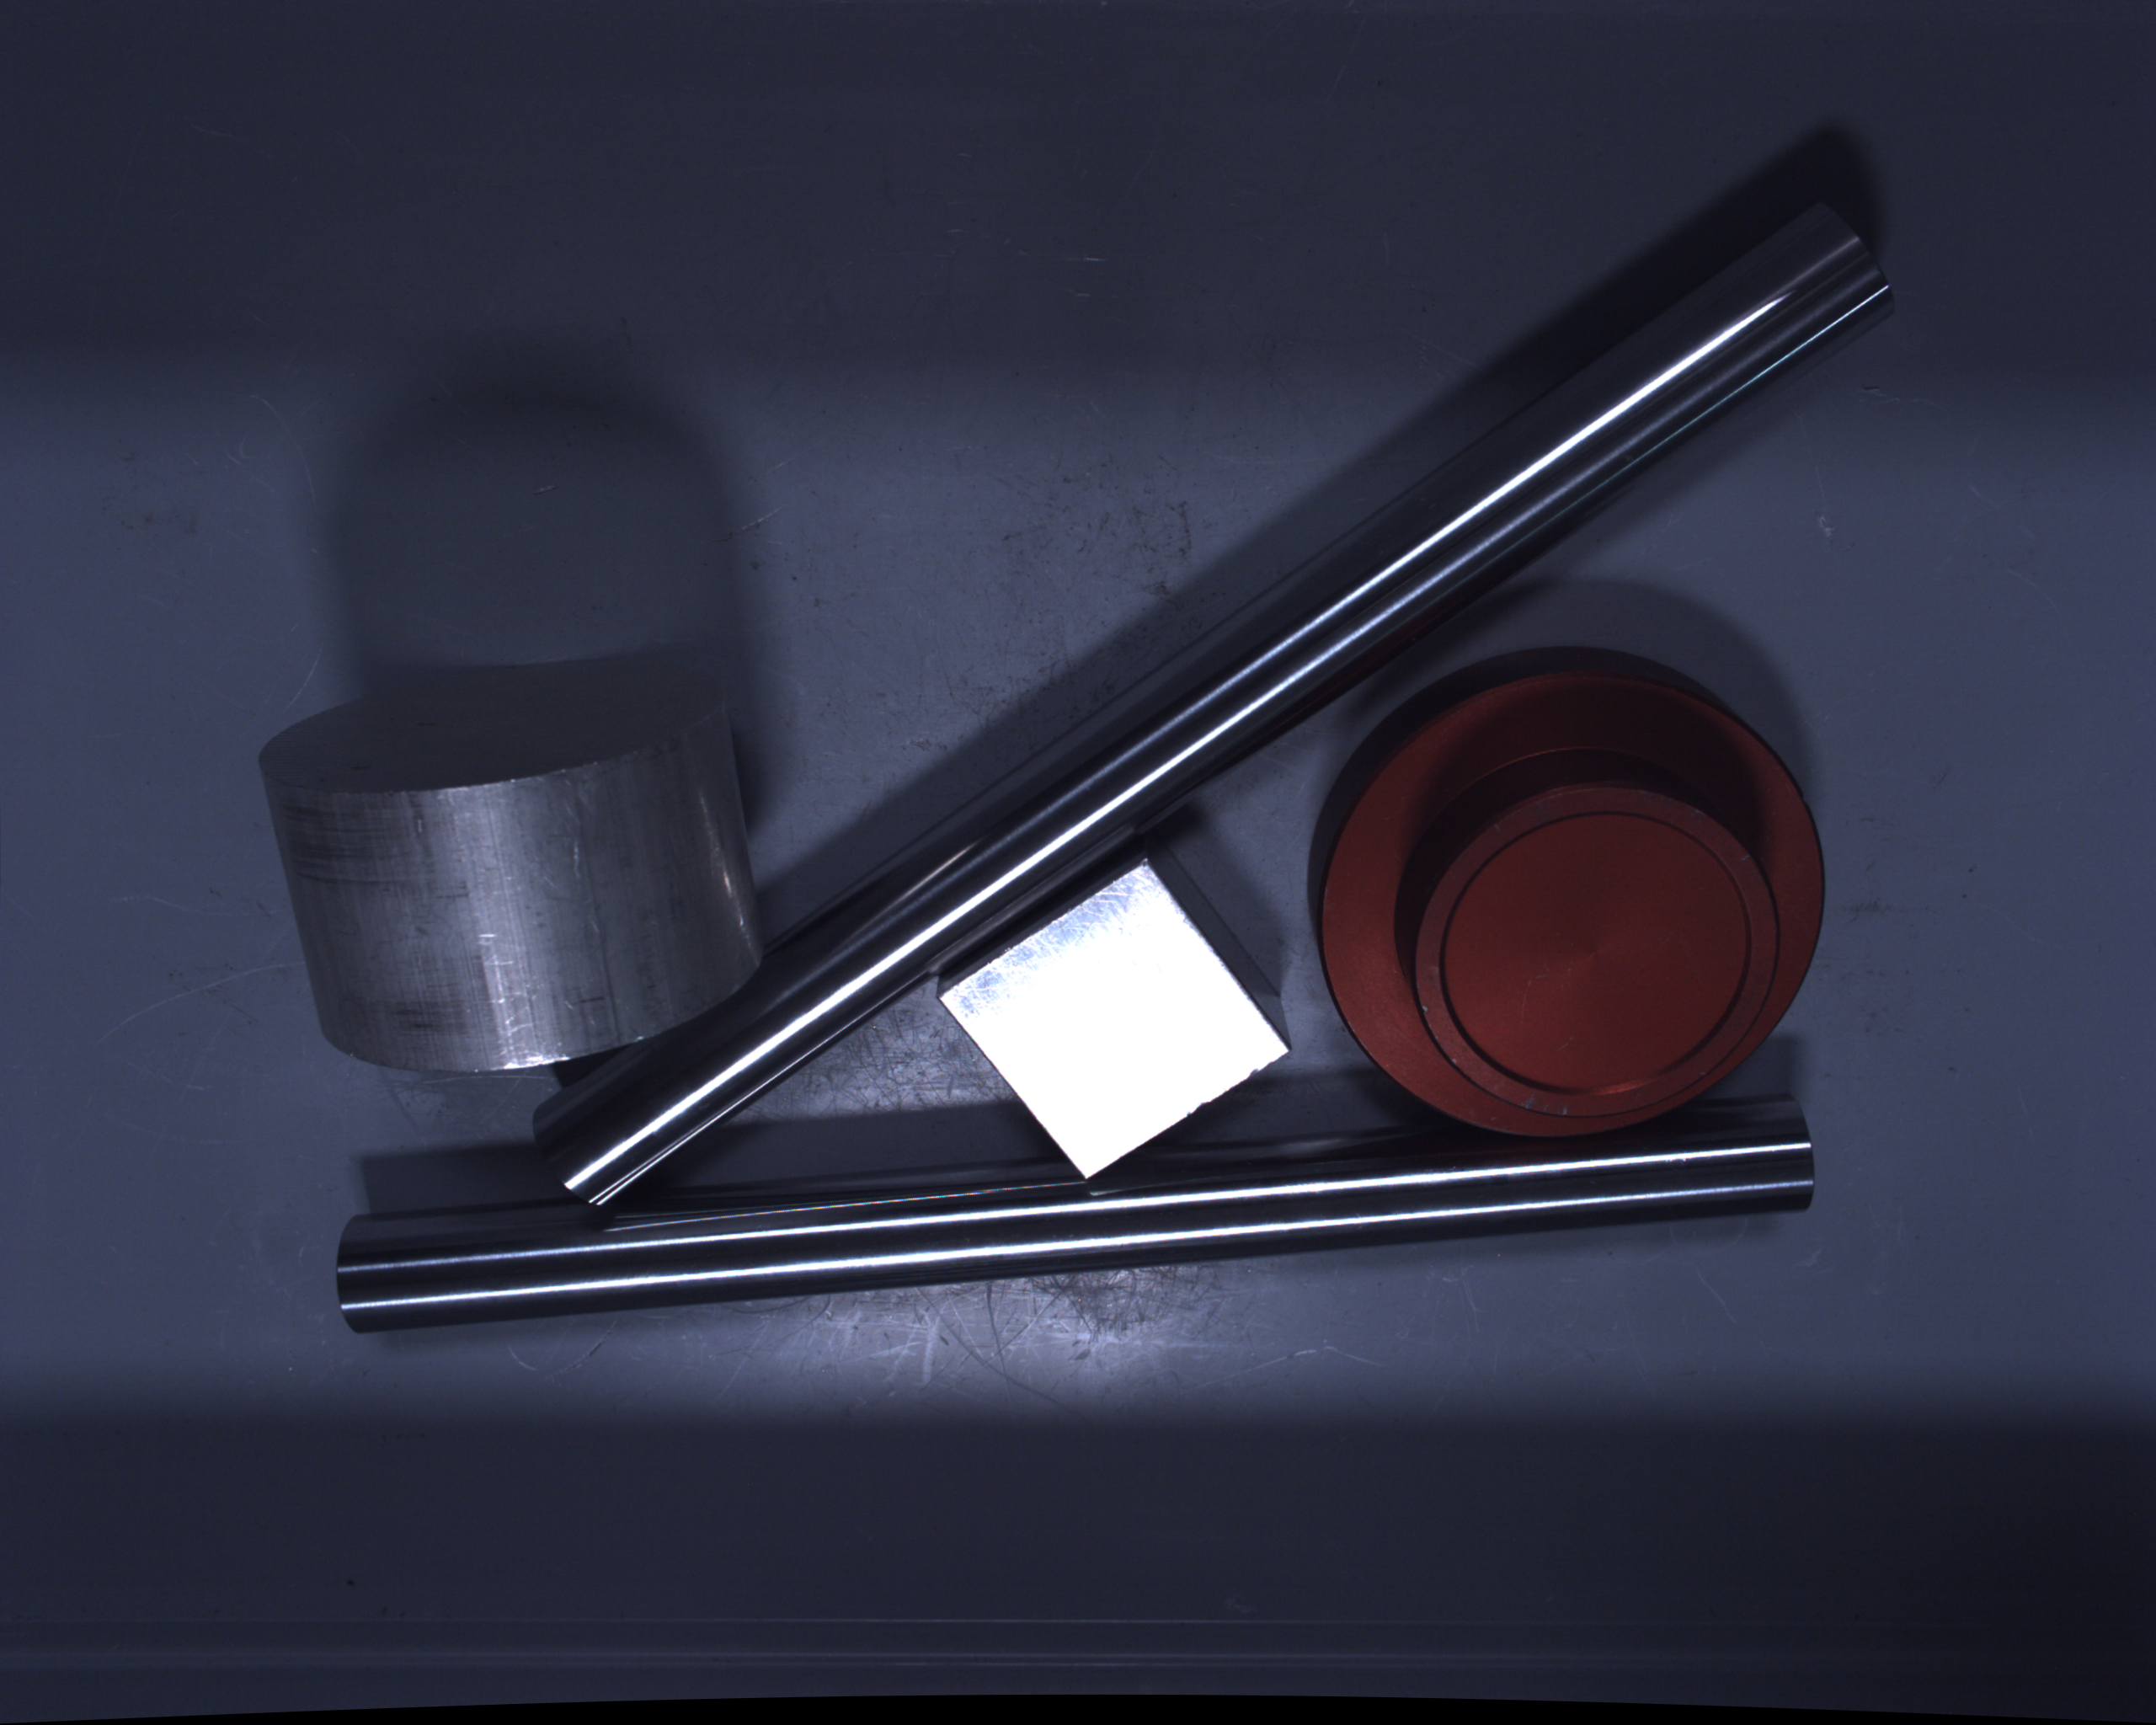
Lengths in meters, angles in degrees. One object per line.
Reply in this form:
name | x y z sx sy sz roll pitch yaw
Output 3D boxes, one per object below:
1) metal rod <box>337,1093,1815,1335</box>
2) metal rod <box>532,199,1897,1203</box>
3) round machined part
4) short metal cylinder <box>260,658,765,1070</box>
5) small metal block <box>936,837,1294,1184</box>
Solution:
metal rod | -0.001 0.074 0.437 0.302 0.025 0.025 -5 110 1
metal rod | 0.017 -0.024 0.401 0.300 0.025 0.025 -35 107 11
round machined part | 0.096 0.011 0.404 0.099 0.042 0.097 0 110 -1
short metal cylinder | -0.101 -0.002 0.379 0.081 0.080 0.050 -5 110 1
small metal block | 0.007 0.028 0.419 0.050 0.025 0.050 -34 107 11
